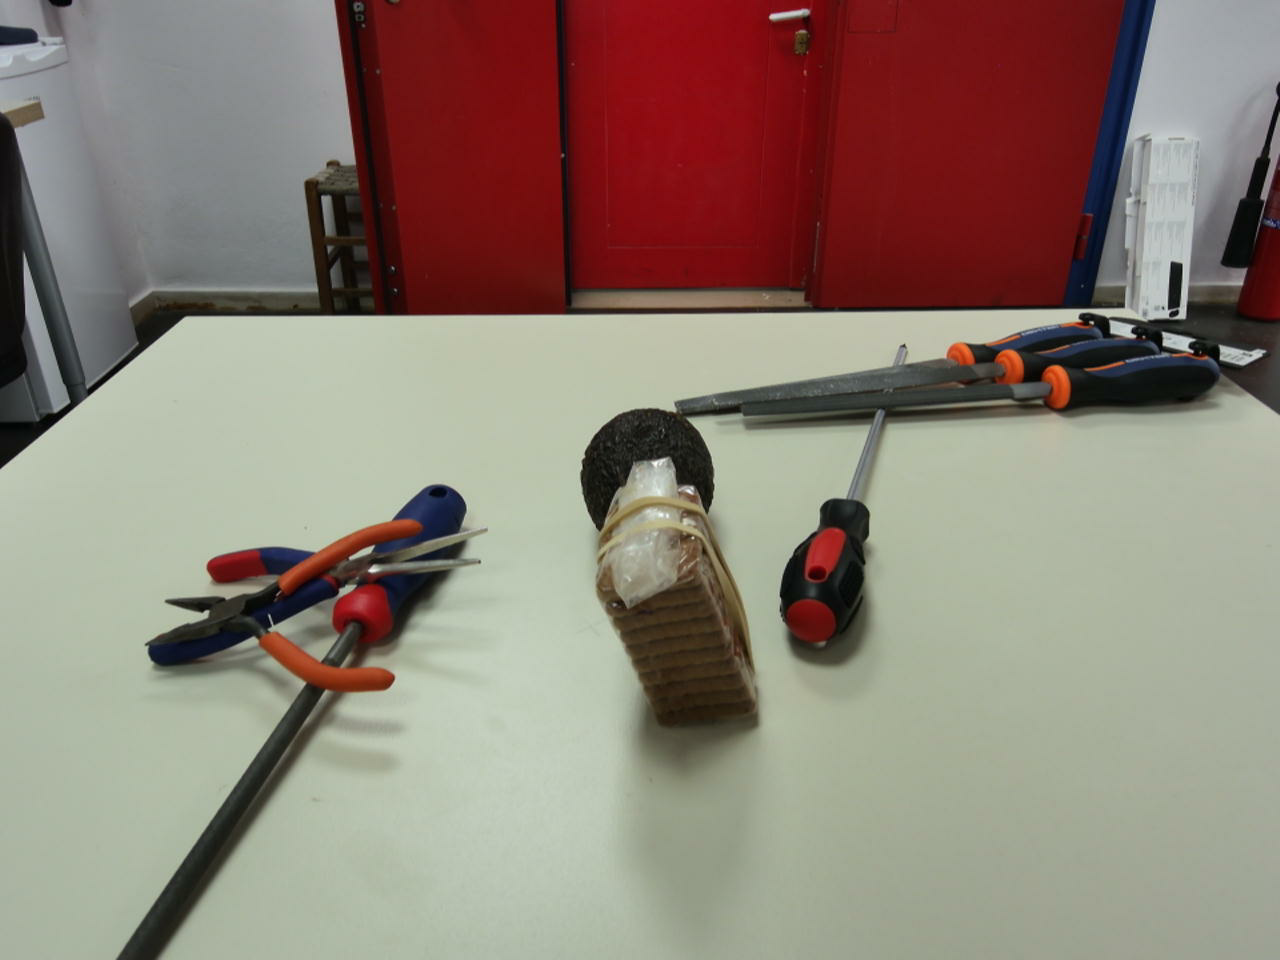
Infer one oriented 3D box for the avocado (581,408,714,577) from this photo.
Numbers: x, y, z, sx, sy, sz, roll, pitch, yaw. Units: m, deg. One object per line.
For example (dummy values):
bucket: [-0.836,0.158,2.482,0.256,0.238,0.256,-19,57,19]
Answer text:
avocado: [0.002,0.001,0.512,0.070,0.069,0.090,11,28,22]
